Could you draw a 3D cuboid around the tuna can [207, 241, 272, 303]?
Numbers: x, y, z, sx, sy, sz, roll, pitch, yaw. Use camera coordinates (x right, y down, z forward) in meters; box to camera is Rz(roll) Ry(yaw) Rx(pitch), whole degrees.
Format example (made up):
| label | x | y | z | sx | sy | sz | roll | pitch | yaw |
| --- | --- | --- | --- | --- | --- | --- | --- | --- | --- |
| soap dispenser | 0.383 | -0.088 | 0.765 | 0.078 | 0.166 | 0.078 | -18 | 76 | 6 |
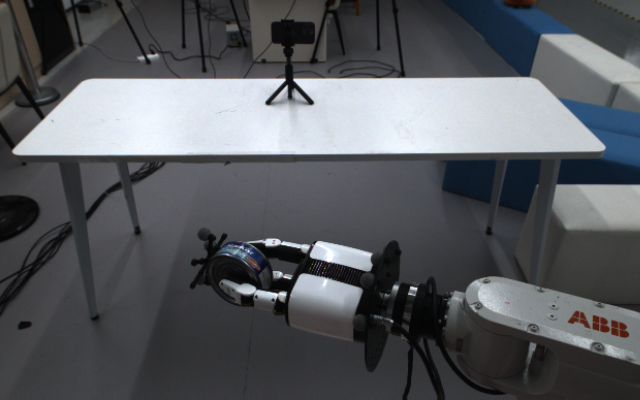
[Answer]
| label | x | y | z | sx | sy | sz | roll | pitch | yaw |
| --- | --- | --- | --- | --- | --- | --- | --- | --- | --- |
| tuna can | -0.104 | 0.103 | 0.644 | 0.085 | 0.085 | 0.034 | 14 | 31 | 16 |
